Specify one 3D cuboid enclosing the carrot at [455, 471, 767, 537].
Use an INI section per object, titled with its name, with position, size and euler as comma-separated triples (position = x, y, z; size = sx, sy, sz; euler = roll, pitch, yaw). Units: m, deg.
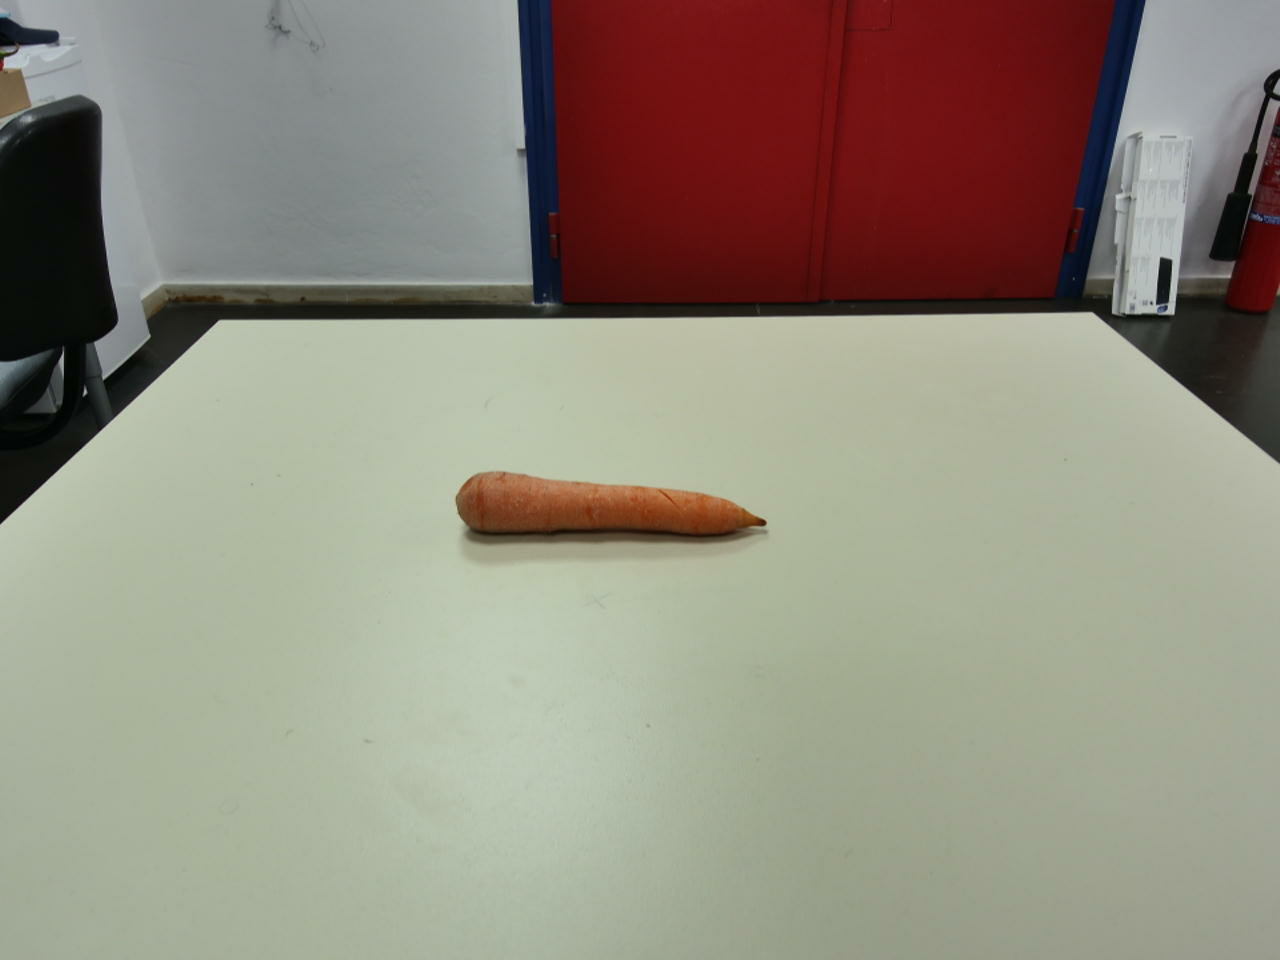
[carrot]
position = -0.017, 0.015, 0.629
size = 0.196, 0.041, 0.039
euler = 0, 27, 0
